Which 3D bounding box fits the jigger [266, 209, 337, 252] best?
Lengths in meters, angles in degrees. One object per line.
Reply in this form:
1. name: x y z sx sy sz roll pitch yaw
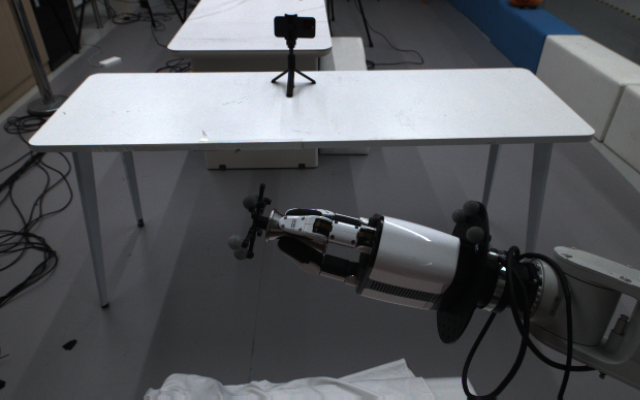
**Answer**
1. jigger: -0.017 0.032 0.549 0.071 0.043 0.043 13 36 4
